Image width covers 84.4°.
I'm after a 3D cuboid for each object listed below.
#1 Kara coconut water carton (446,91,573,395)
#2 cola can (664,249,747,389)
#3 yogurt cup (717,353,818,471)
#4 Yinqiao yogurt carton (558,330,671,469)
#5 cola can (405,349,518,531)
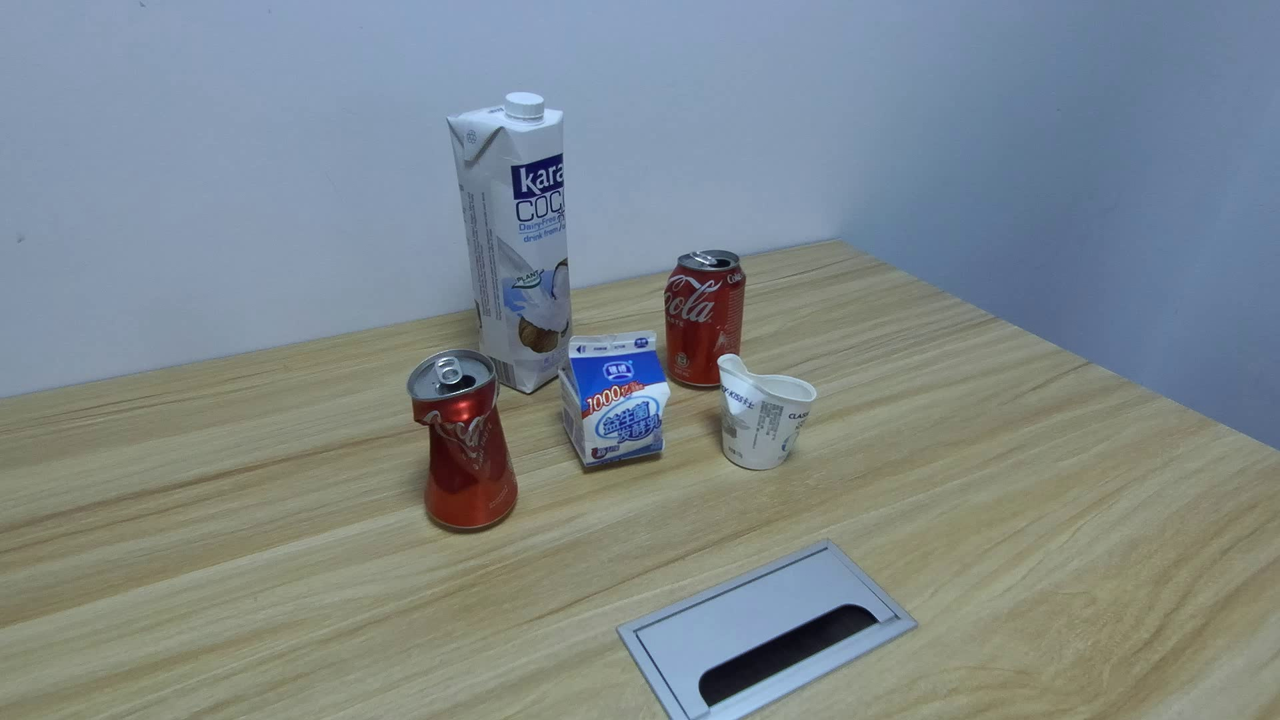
[{"bbox_3d":[-0.103,-0.096,0.600,0.075,0.245,0.077,20,35,32],"label":"Kara coconut water carton"},{"bbox_3d":[0.059,-0.035,0.629,0.072,0.117,0.065,-13,32,-24],"label":"cola can"},{"bbox_3d":[0.093,0.040,0.543,0.075,0.071,0.054,10,31,13],"label":"yogurt cup"},{"bbox_3d":[-0.018,0.024,0.544,0.075,0.097,0.080,-9,24,-18],"label":"Yinqiao yogurt carton"},{"bbox_3d":[-0.119,0.053,0.478,0.065,0.112,0.069,8,31,13],"label":"cola can"}]
